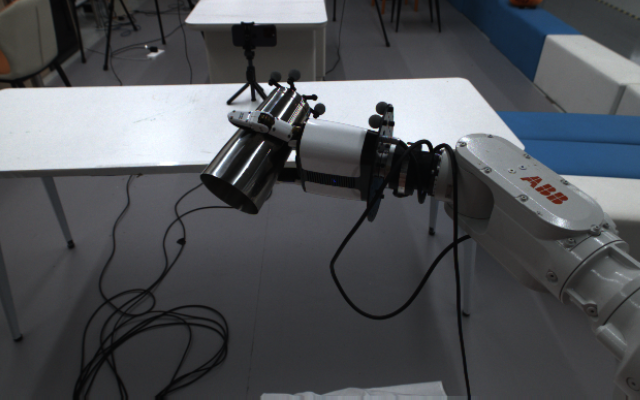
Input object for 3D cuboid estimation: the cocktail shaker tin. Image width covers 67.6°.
[{"bbox_3d":[-0.081,-0.078,0.679,0.093,0.093,0.170,20,67,24],"label":"cocktail shaker tin"}]
